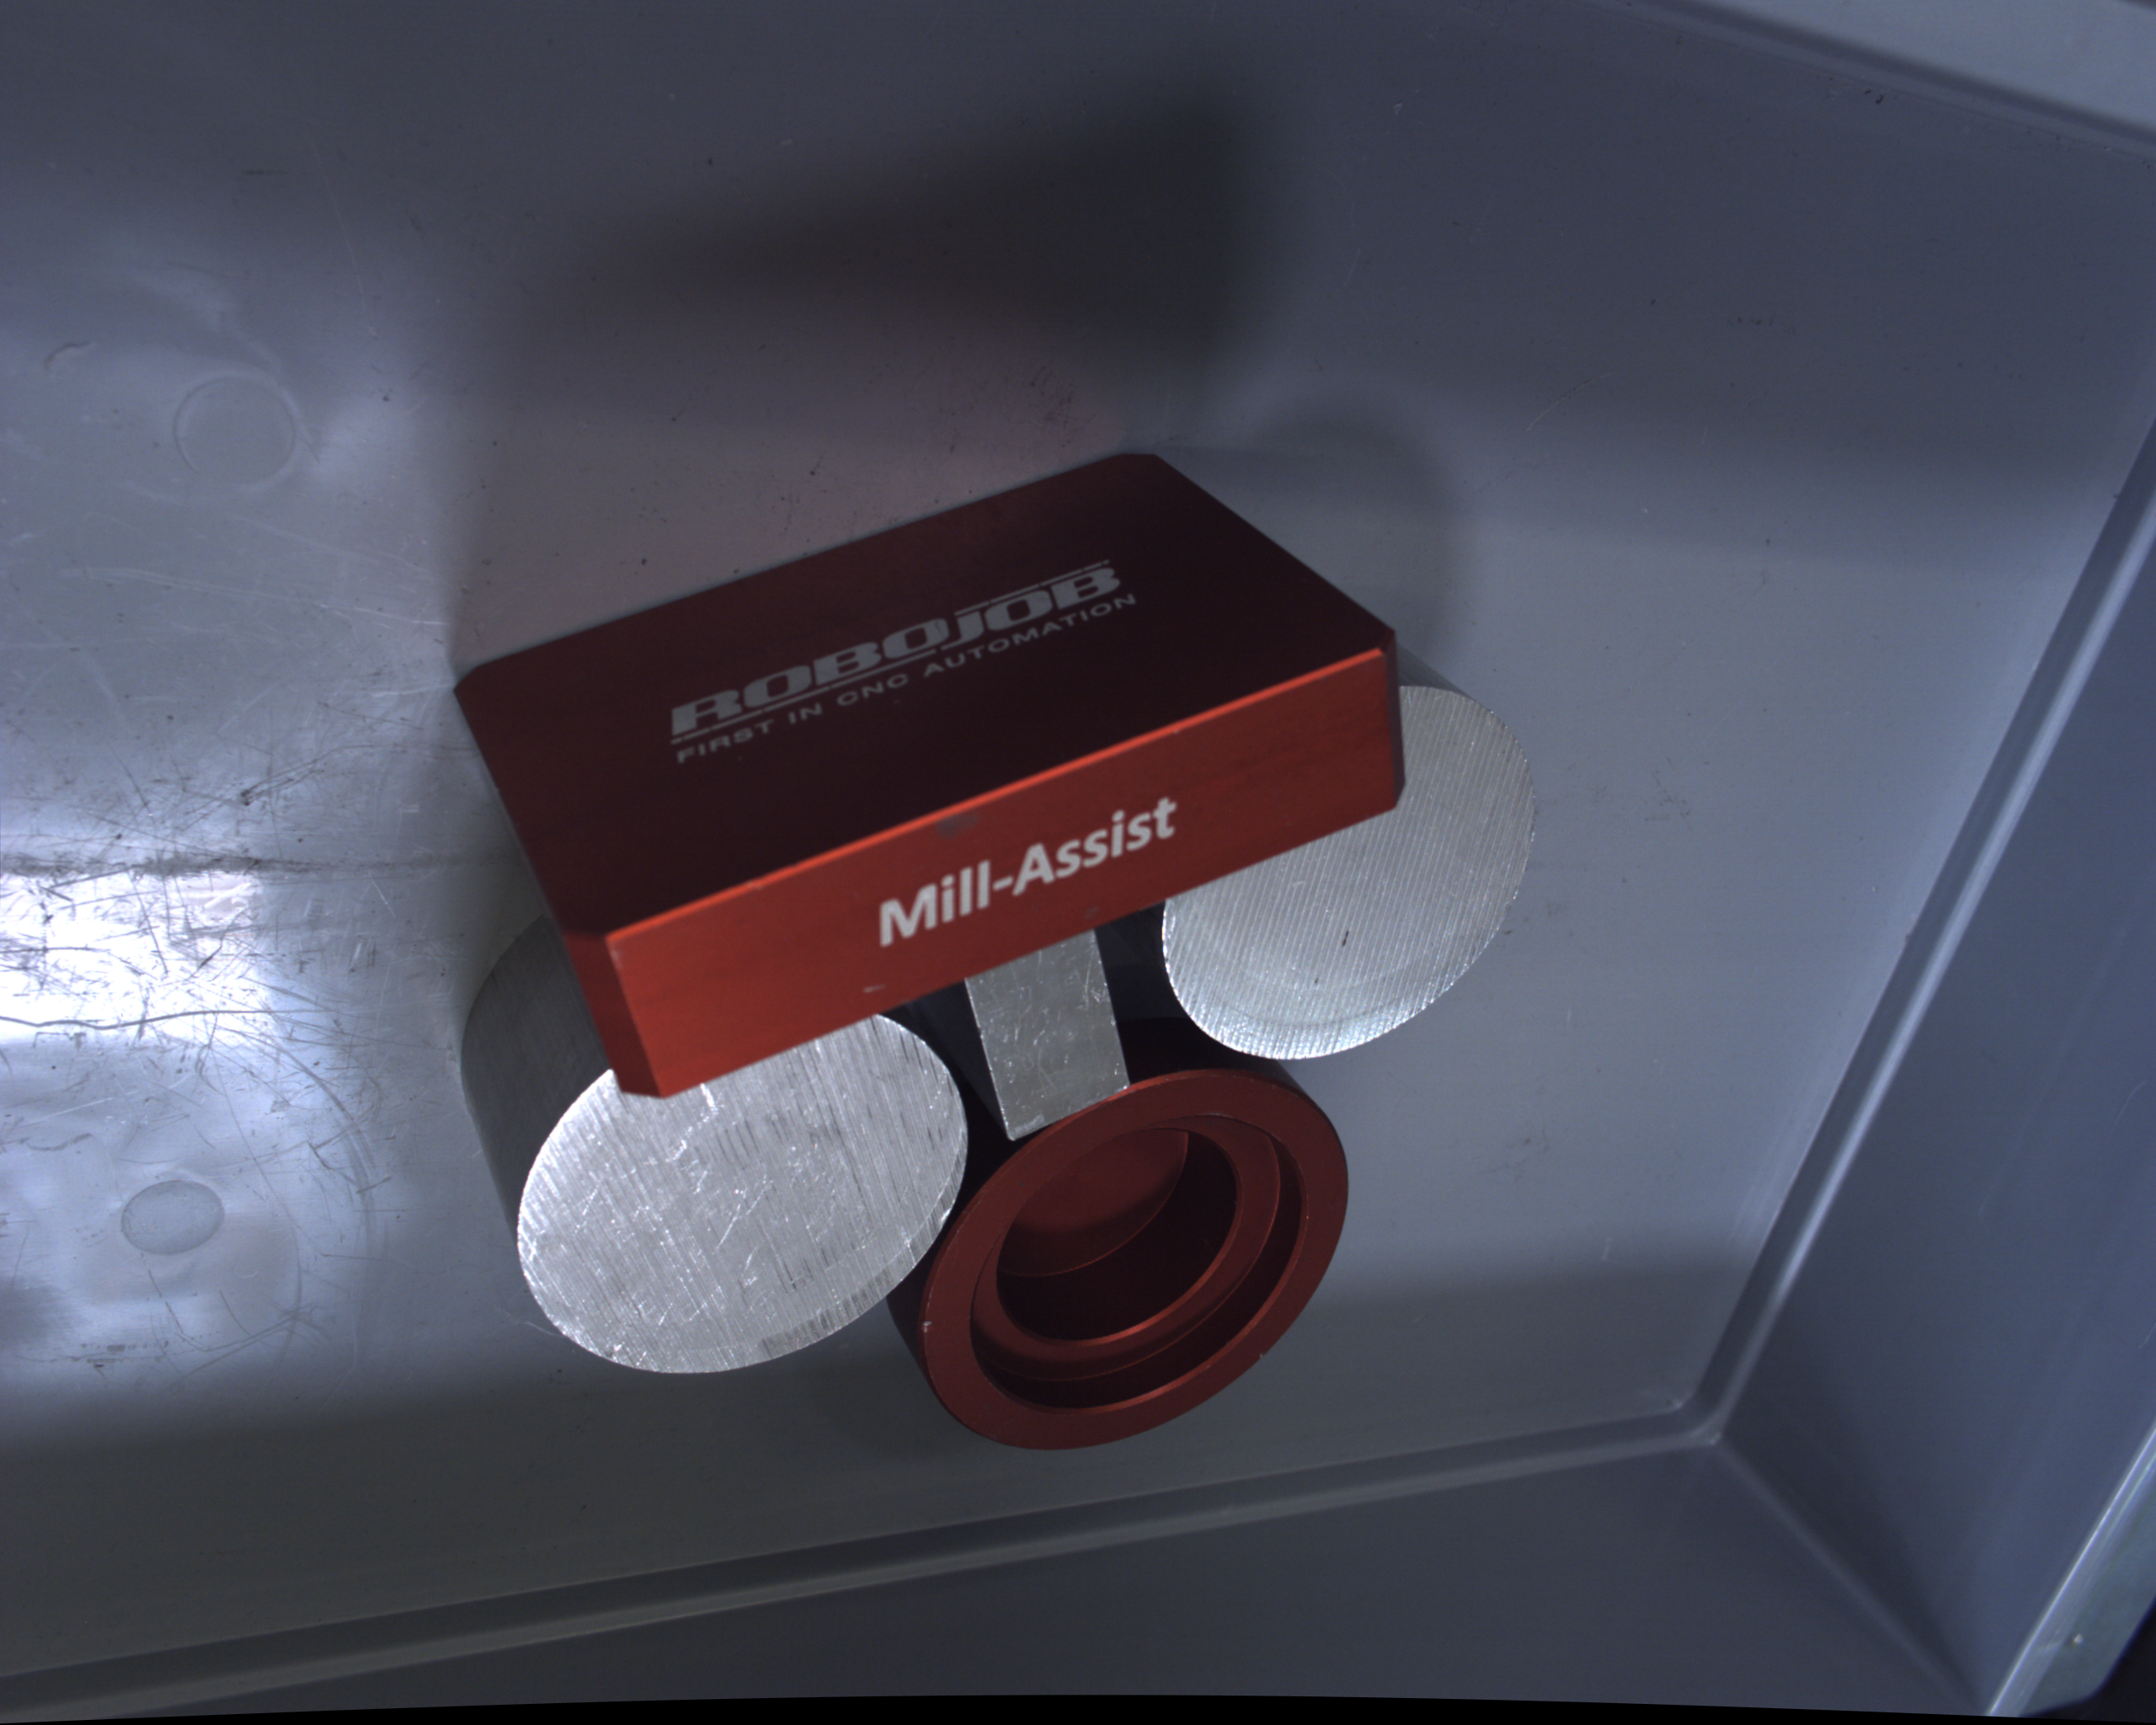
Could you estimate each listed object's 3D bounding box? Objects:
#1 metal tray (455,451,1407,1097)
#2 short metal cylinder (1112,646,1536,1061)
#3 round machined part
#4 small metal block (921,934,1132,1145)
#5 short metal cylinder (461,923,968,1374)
[{"bbox_3d":[-0.025,-0.021,0.337,0.131,0.090,0.030,-21,127,-15],"label":"metal tray"},{"bbox_3d":[0.041,-0.008,0.408,0.081,0.050,0.079,-14,124,-21],"label":"short metal cylinder"},{"bbox_3d":[0.005,0.074,0.443,0.099,0.042,0.097,-14,124,-21],"label":"round machined part"},{"bbox_3d":[-0.016,0.016,0.391,0.025,0.050,0.050,-23,127,-15],"label":"small metal block"},{"bbox_3d":[-0.067,0.046,0.382,0.081,0.050,0.079,-14,124,-21],"label":"short metal cylinder"}]
